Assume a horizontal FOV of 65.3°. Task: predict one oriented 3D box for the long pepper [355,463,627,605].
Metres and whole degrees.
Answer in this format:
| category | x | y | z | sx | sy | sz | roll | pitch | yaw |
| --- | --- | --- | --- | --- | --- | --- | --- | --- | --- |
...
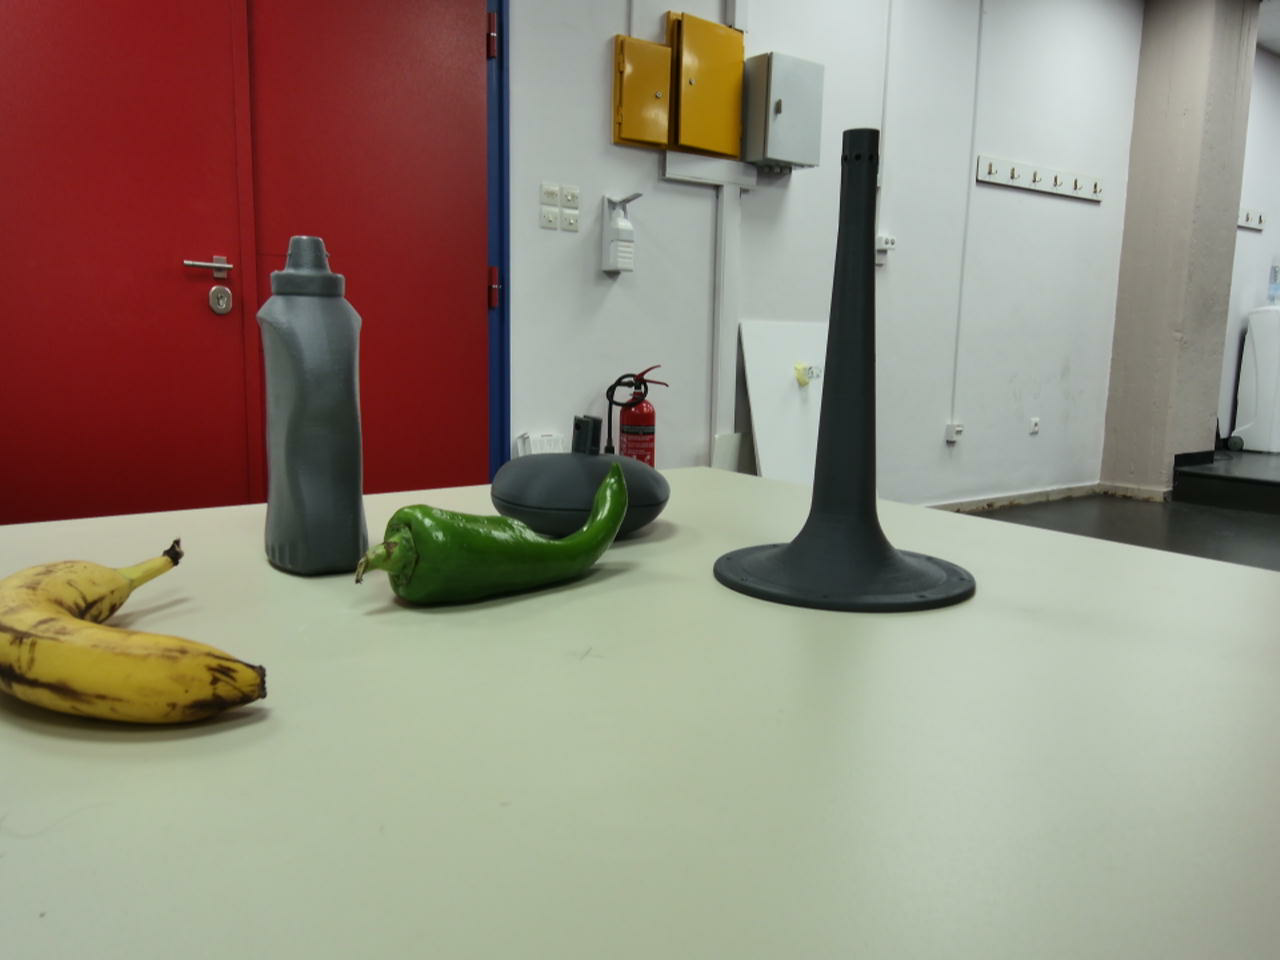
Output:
| category | x | y | z | sx | sy | sz | roll | pitch | yaw |
| --- | --- | --- | --- | --- | --- | --- | --- | --- | --- |
| long pepper | -0.072 | 0.028 | 0.544 | 0.175 | 0.065 | 0.058 | -5 | 8 | -39 |
